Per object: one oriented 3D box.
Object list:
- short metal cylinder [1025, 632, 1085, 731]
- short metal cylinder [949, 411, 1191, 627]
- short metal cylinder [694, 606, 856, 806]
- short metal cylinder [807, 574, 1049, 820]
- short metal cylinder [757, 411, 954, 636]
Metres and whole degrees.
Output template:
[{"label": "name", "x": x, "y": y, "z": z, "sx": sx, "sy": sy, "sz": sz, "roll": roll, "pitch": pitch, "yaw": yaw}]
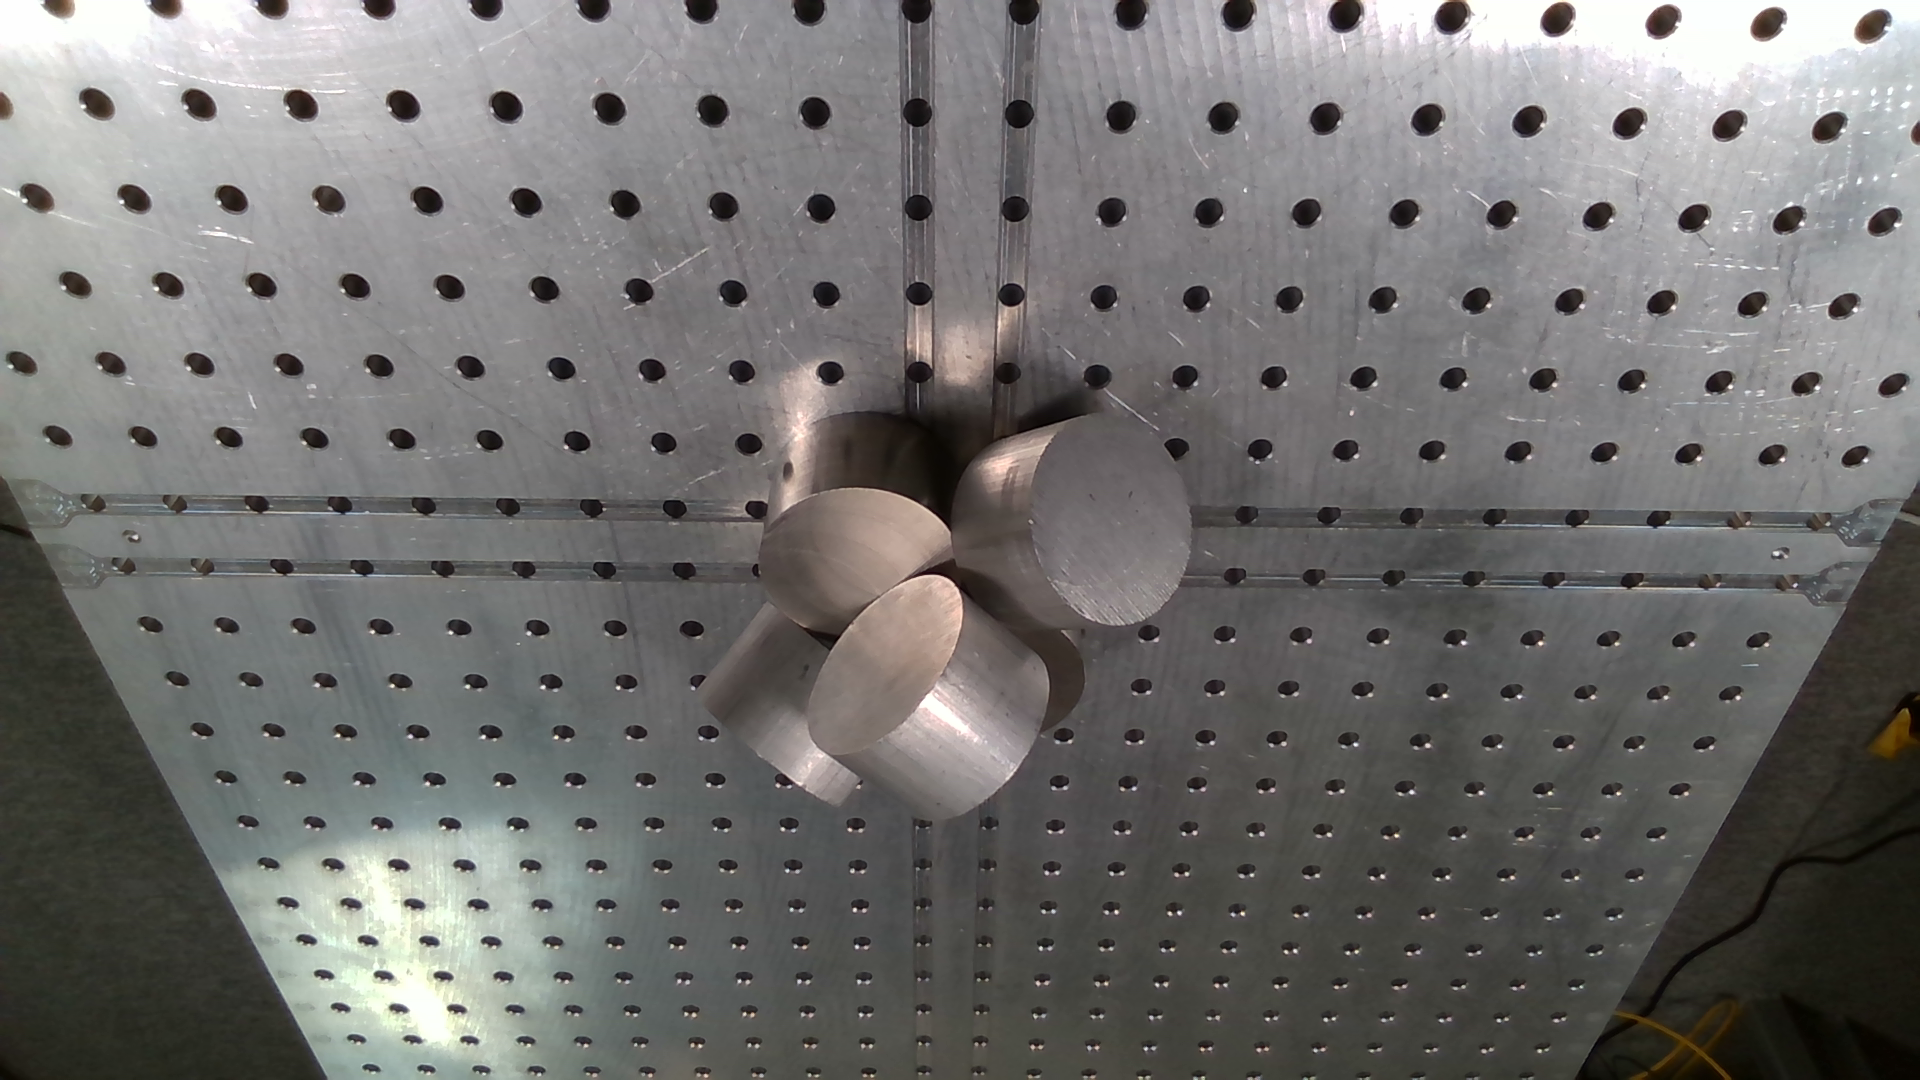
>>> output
[{"label": "short metal cylinder", "x": 0.013, "y": 0.042, "z": 0.601, "sx": 0.080, "sy": 0.050, "sz": 0.080, "roll": 0, "pitch": 130, "yaw": 0}, {"label": "short metal cylinder", "x": 0.043, "y": -0.006, "z": 0.532, "sx": 0.080, "sy": 0.080, "sz": 0.050, "roll": 36, "pitch": 155, "yaw": -26}, {"label": "short metal cylinder", "x": -0.068, "y": 0.070, "z": 0.596, "sx": 0.080, "sy": 0.080, "sz": 0.050, "roll": 42, "pitch": 83, "yaw": -29}, {"label": "short metal cylinder", "x": -0.013, "y": 0.060, "z": 0.530, "sx": 0.080, "sy": 0.080, "sz": 0.050, "roll": -34, "pitch": 122, "yaw": 25}, {"label": "short metal cylinder", "x": -0.040, "y": -0.005, "z": 0.561, "sx": 0.080, "sy": 0.050, "sz": 0.080, "roll": 0, "pitch": 130, "yaw": 0}]
